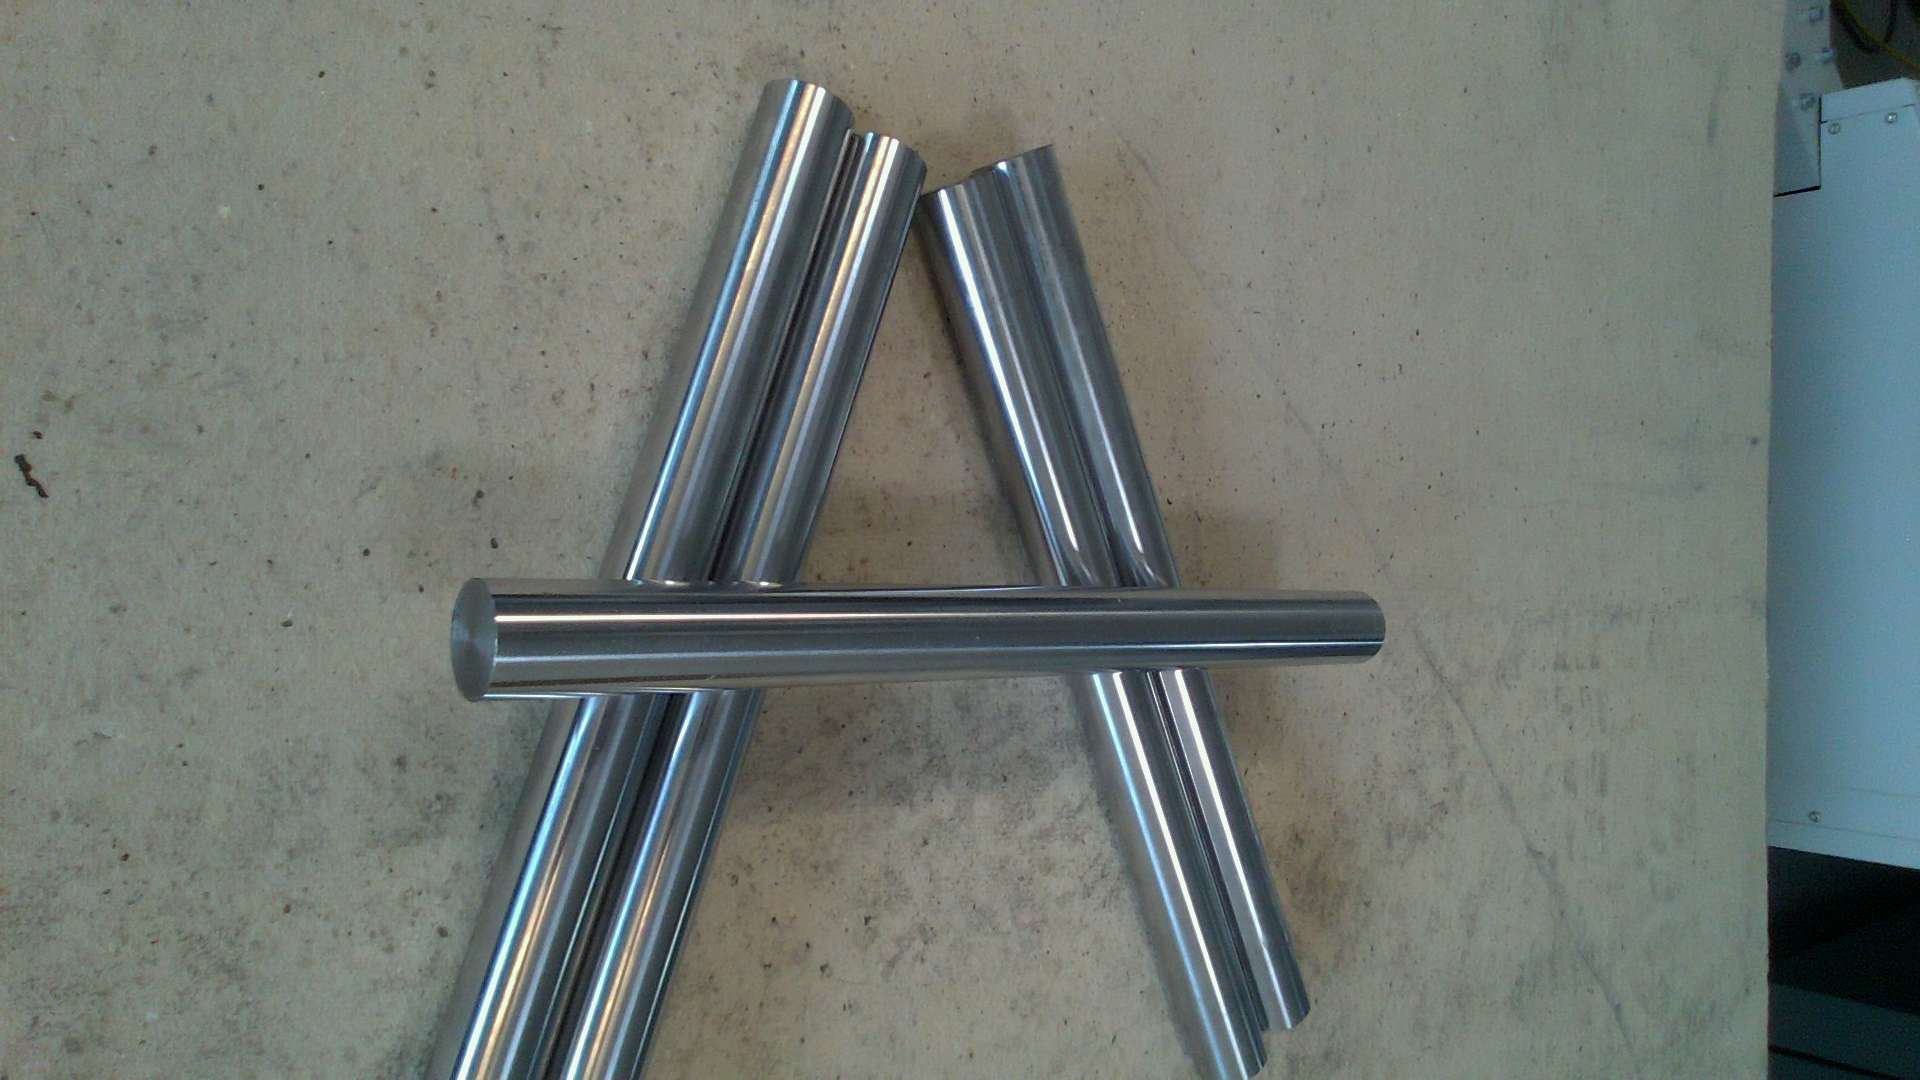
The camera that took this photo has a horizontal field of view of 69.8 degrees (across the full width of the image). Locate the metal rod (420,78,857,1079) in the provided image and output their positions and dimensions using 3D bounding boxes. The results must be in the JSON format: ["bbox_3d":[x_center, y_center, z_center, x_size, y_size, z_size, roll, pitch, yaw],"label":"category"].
[{"bbox_3d":[-0.079,0.029,0.323,0.025,0.025,0.300,26,74,-37],"label":"metal rod"}]

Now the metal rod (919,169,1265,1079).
[{"bbox_3d":[0.044,0.037,0.427,0.025,0.025,0.300,-30,109,-36],"label":"metal rod"}]

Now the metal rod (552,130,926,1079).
[{"bbox_3d":[-0.061,0.037,0.338,0.025,0.025,0.300,26,74,-37],"label":"metal rod"}]

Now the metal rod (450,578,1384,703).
[{"bbox_3d":[0.018,0.025,0.371,0.301,0.025,0.025,2,89,-40],"label":"metal rod"}]

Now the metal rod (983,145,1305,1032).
[{"bbox_3d":[0.061,0.026,0.440,0.025,0.025,0.300,-30,109,-36],"label":"metal rod"}]
